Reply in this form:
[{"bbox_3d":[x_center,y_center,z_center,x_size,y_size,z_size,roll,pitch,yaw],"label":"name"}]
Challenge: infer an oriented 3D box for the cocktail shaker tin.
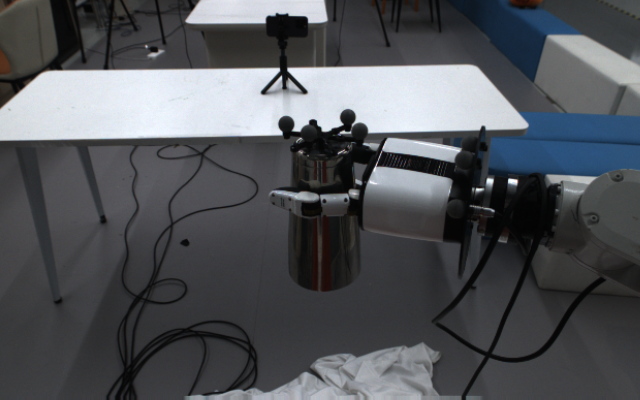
[{"bbox_3d":[0.008,0.009,0.567,0.093,0.170,0.093,-1,32,1],"label":"cocktail shaker tin"}]
